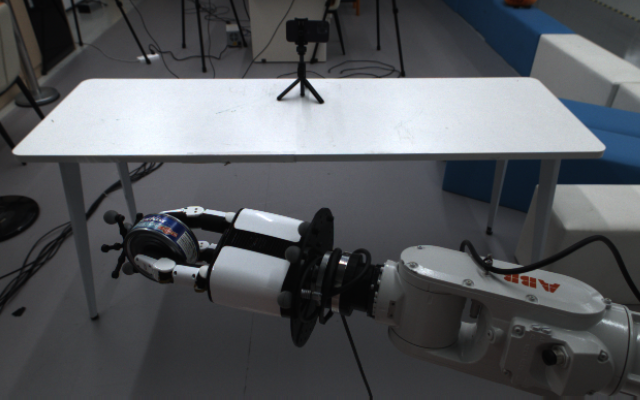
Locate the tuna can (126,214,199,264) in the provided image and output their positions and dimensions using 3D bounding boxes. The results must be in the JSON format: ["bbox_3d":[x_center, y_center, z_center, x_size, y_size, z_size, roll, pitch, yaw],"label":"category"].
[{"bbox_3d":[-0.190,0.059,0.589,0.085,0.085,0.034,9,34,10],"label":"tuna can"}]
